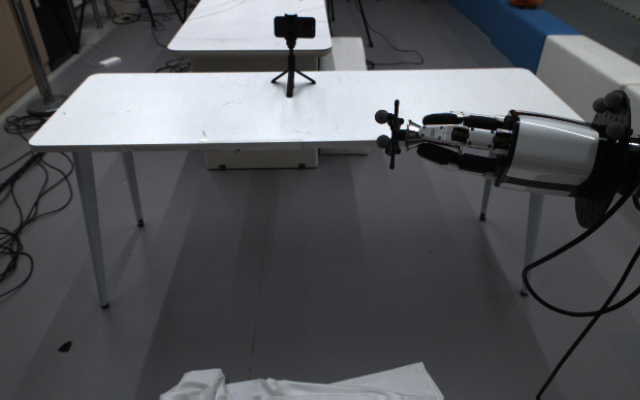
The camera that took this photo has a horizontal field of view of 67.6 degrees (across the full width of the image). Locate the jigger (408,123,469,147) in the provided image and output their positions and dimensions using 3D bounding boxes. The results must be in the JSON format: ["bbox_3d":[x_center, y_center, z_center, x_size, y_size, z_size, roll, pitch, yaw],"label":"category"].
[{"bbox_3d":[0.152,-0.084,0.613,0.071,0.043,0.043,5,34,19],"label":"jigger"}]
